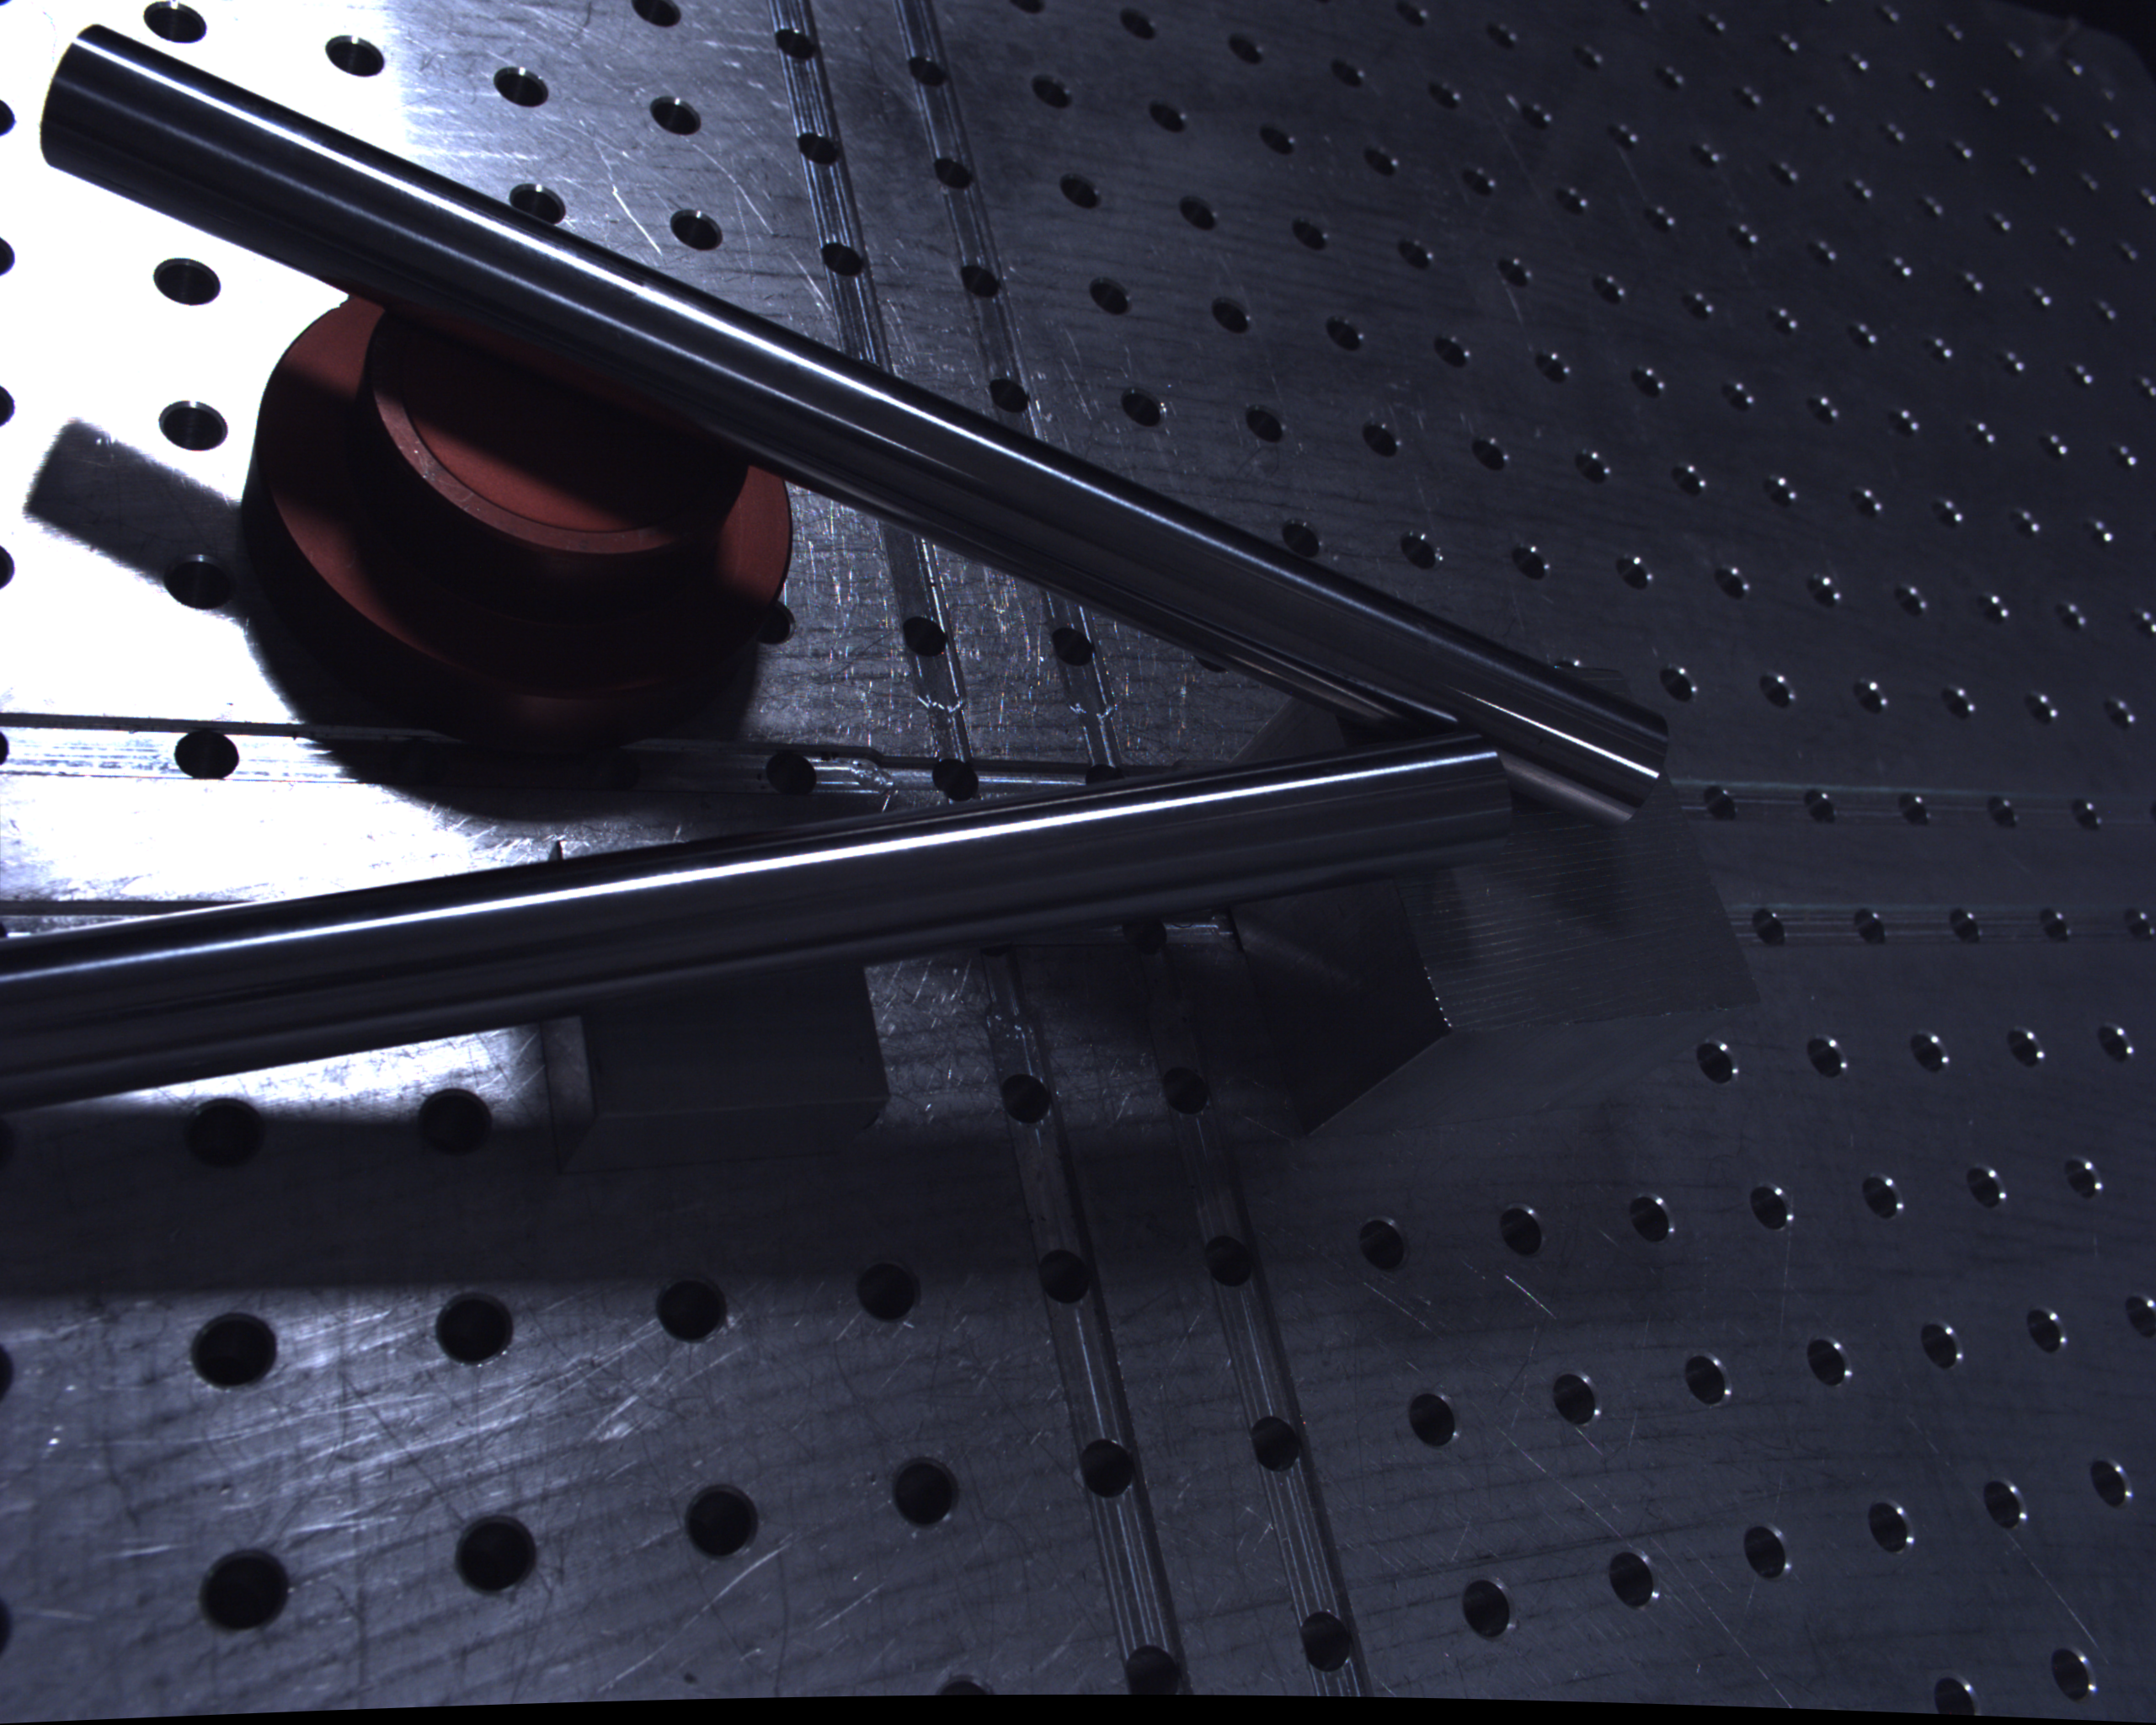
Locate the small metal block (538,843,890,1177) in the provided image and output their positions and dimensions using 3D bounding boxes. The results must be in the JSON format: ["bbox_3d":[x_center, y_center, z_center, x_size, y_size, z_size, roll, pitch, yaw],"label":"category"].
[{"bbox_3d":[-0.065,0.024,0.360,0.050,0.025,0.050,0,62,-29],"label":"small metal block"}]

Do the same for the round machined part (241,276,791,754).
[{"bbox_3d":[-0.100,-0.072,0.388,0.099,0.042,0.098,14,56,-21],"label":"round machined part"}]

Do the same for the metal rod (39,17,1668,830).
[{"bbox_3d":[-0.029,-0.073,0.376,0.302,0.025,0.025,22,53,-12],"label":"metal rod"}]

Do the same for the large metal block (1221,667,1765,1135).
[{"bbox_3d":[0.081,0.006,0.430,0.081,0.050,0.080,-2,63,-30],"label":"large metal block"}]

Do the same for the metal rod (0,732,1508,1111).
[{"bbox_3d":[-0.067,0.010,0.332,0.303,0.025,0.025,-9,66,-21],"label":"metal rod"}]
